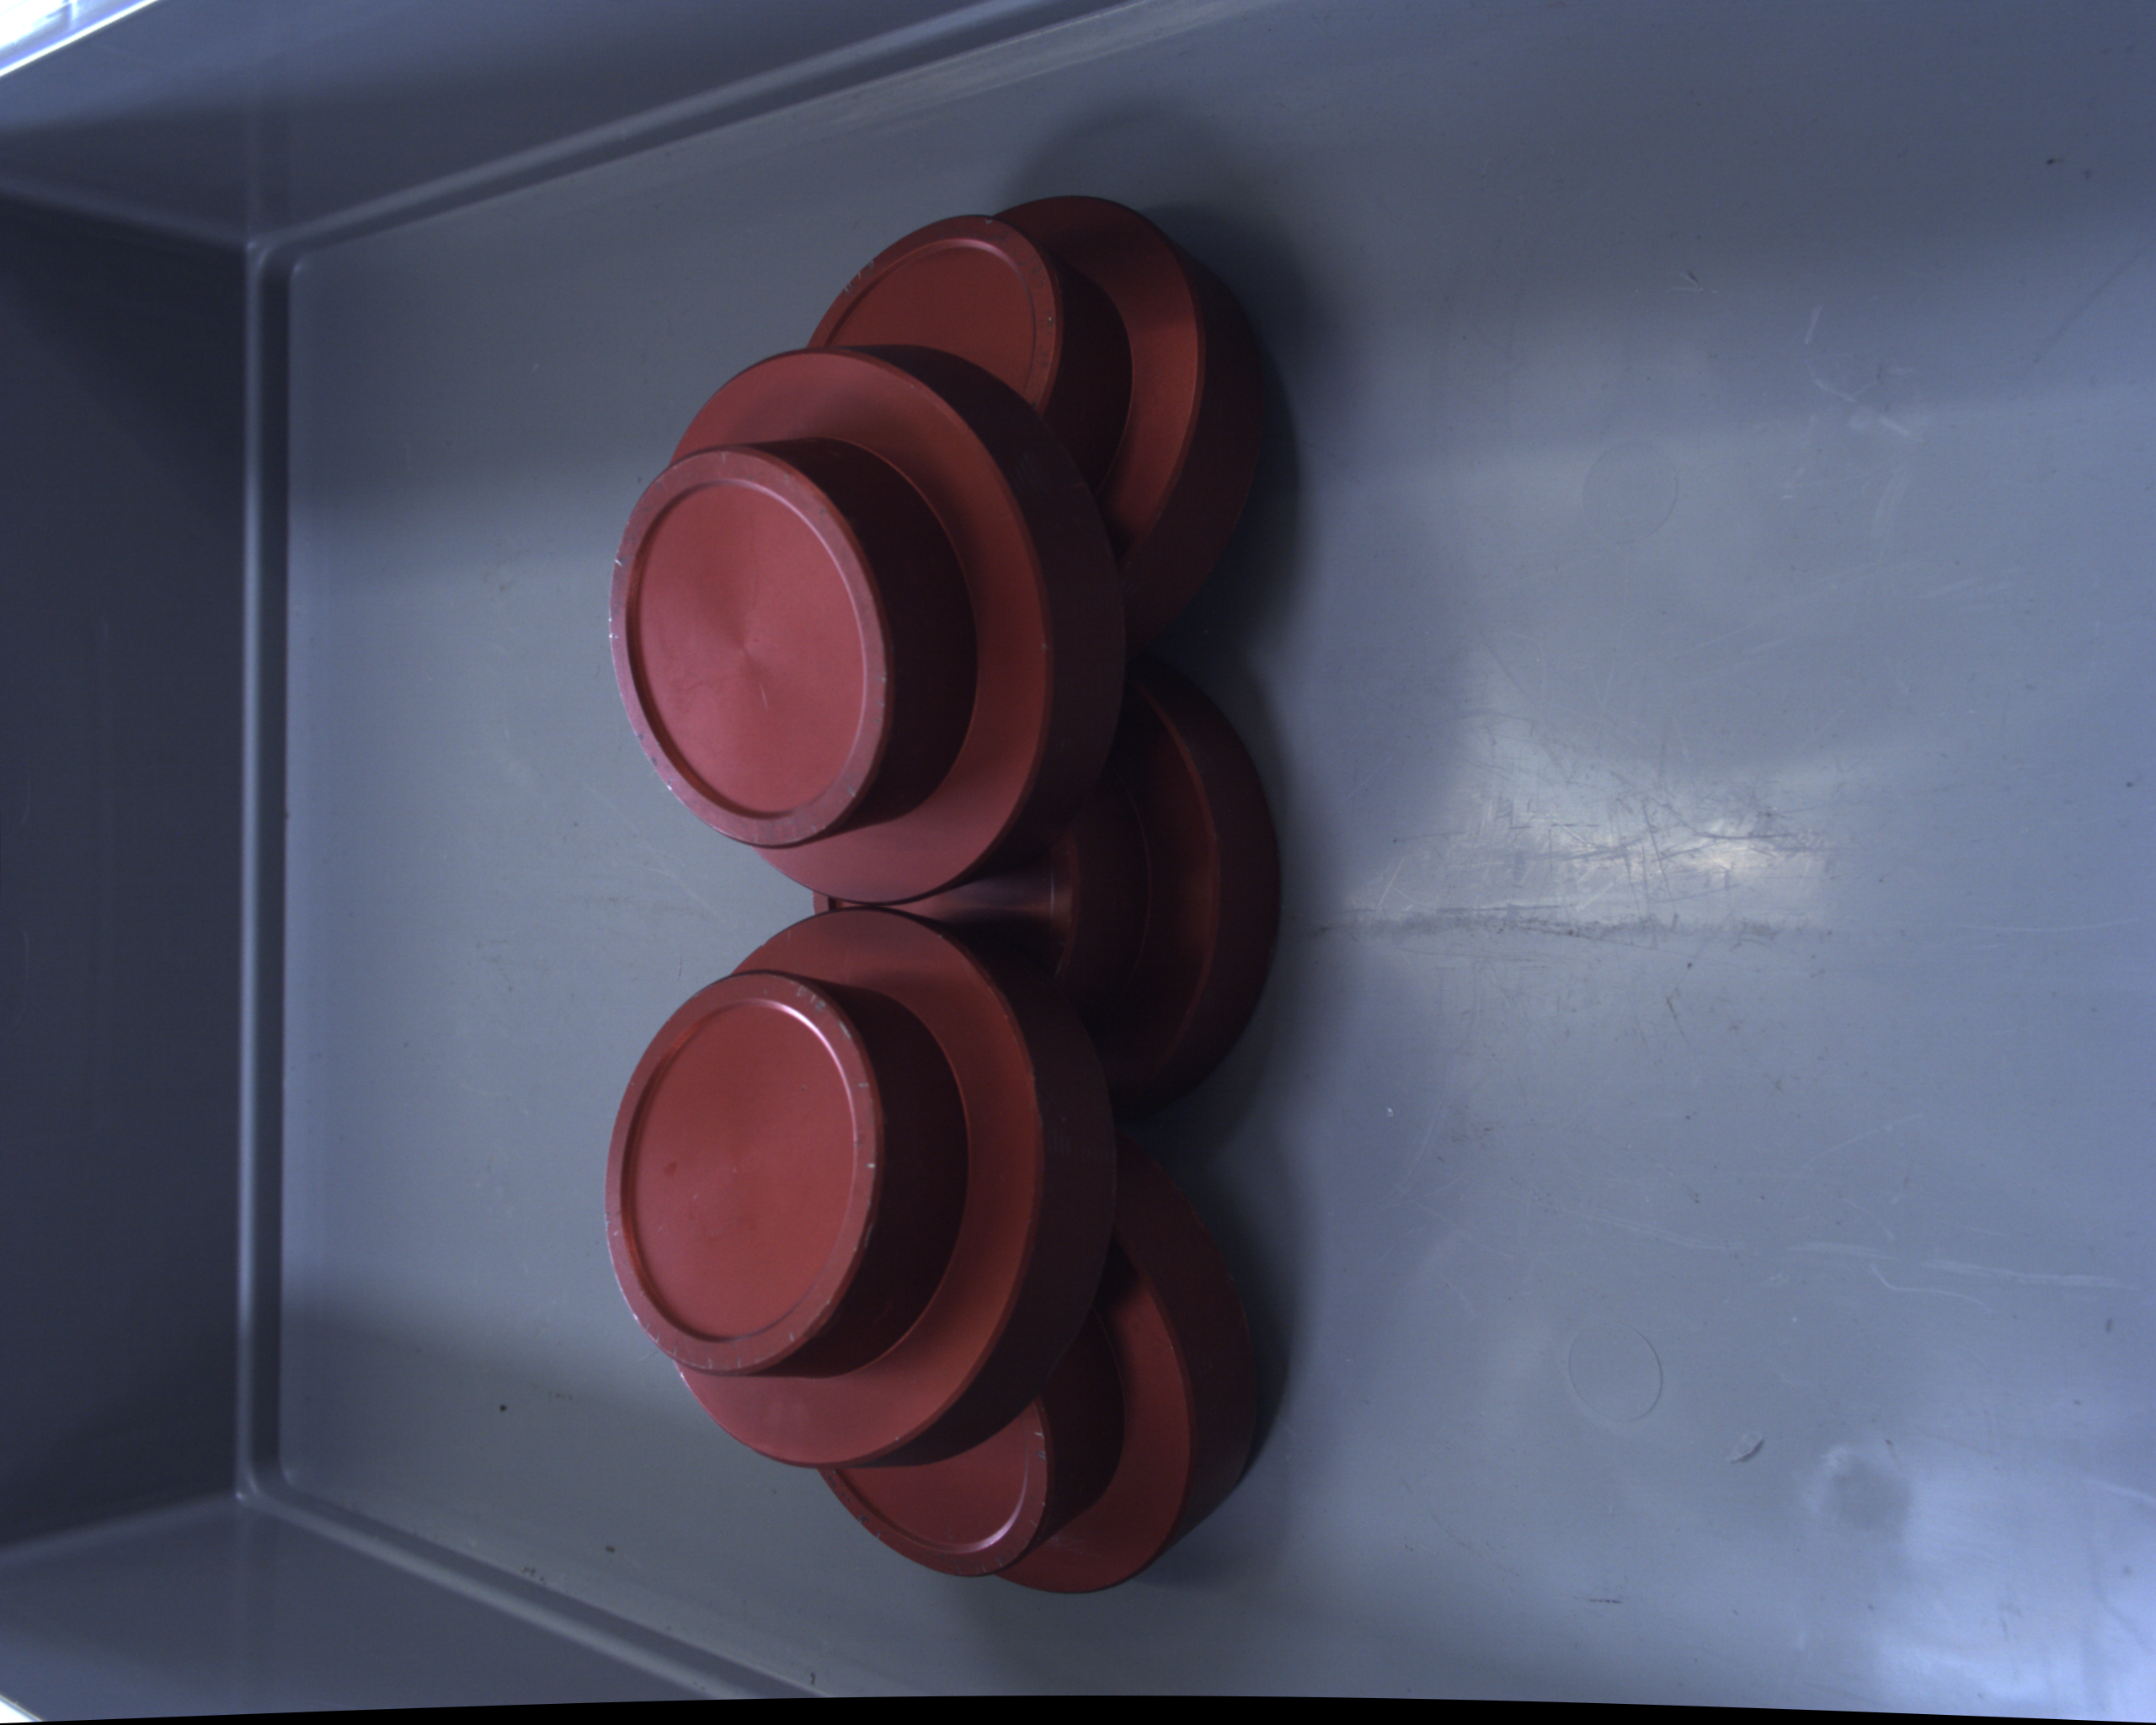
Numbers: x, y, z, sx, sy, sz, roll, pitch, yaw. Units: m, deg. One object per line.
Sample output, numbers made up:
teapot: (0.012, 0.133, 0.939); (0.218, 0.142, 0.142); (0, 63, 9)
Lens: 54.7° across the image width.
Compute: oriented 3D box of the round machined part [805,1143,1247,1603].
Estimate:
round machined part: (-0.020, 0.095, 0.393); (0.098, 0.042, 0.097); (15, 114, 36)

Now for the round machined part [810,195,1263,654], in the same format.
round machined part: (-0.017, -0.082, 0.394); (0.098, 0.042, 0.098); (-15, 65, 35)

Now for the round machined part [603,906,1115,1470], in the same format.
round machined part: (-0.045, 0.055, 0.364); (0.098, 0.042, 0.098); (-11, 72, 37)

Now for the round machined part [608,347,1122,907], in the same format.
round machined part: (-0.044, -0.039, 0.363); (0.098, 0.042, 0.097); (12, 110, 37)

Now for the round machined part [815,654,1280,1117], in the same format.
round machined part: (-0.013, 0.004, 0.405); (0.098, 0.042, 0.097); (-1, 88, 40)
